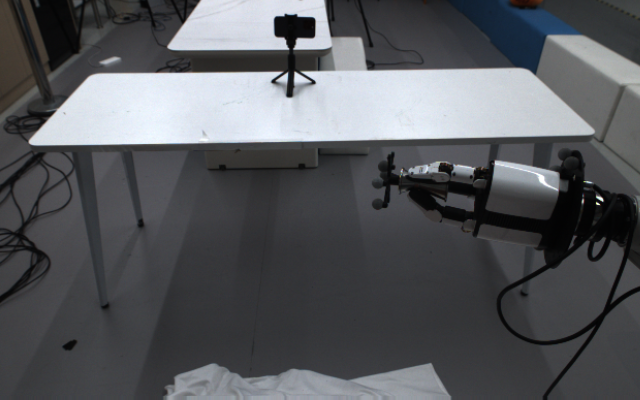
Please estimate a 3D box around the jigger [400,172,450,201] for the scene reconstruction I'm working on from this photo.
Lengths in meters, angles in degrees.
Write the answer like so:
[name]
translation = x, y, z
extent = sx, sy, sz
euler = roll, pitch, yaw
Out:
[jigger]
translation = 0.156, -0.029, 0.692
extent = 0.071, 0.043, 0.043
euler = 8, 35, 14
